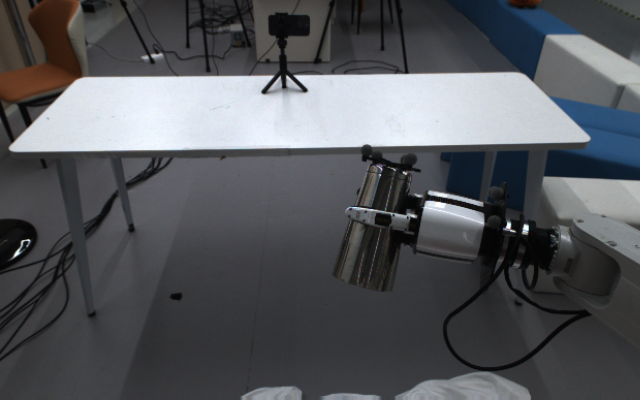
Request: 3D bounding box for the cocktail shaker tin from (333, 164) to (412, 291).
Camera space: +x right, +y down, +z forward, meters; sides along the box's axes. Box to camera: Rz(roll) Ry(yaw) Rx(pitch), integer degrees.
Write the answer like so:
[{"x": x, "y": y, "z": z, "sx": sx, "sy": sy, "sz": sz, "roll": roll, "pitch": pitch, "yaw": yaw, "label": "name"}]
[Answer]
[{"x": 0.081, "y": 0.037, "z": 0.709, "sx": 0.093, "sy": 0.170, "sz": 0.093, "roll": 14, "pitch": 2, "yaw": 0, "label": "cocktail shaker tin"}]
